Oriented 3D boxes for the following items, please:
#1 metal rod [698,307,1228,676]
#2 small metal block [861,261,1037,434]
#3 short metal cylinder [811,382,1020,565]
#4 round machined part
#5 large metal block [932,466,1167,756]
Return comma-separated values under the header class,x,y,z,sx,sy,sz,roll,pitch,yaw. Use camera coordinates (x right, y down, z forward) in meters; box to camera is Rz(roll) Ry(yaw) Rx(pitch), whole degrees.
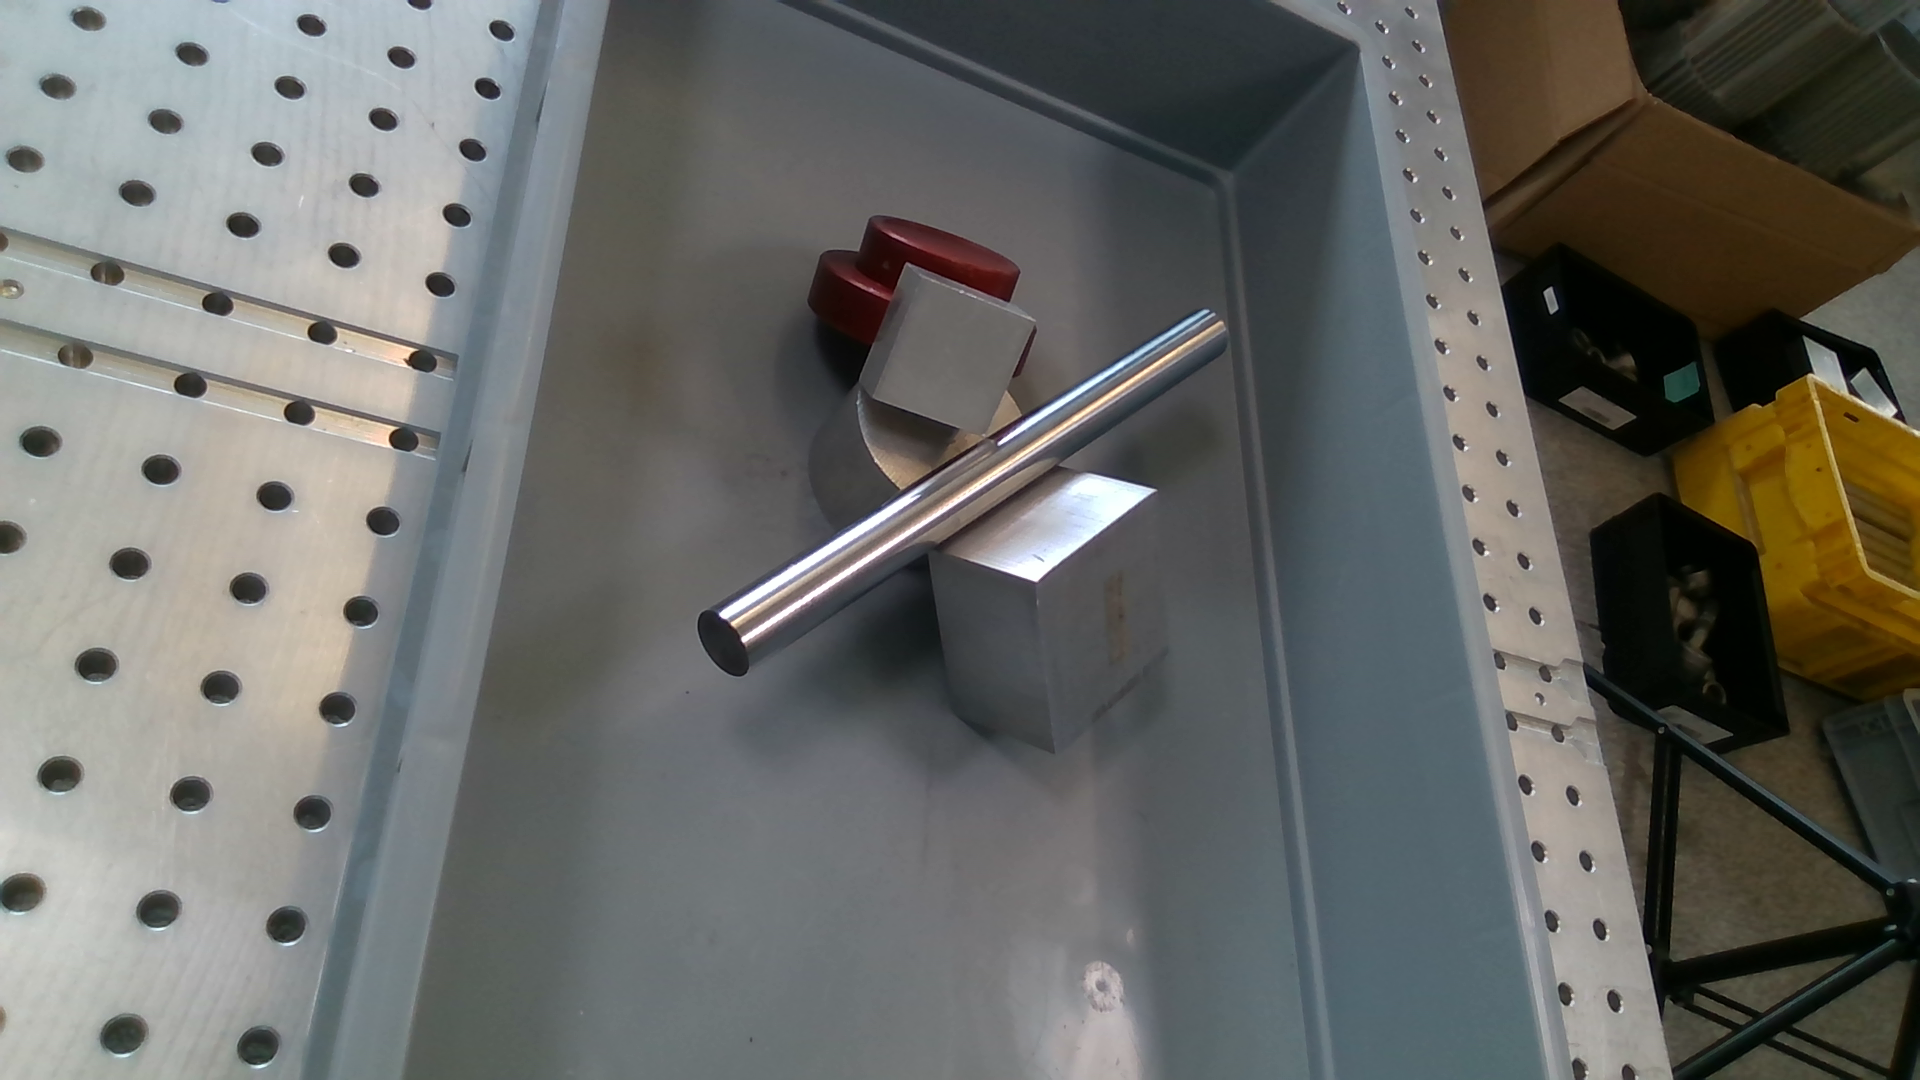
class,x,y,z,sx,sy,sz,roll,pitch,yaw
metal rod,0.018,-0.031,0.548,0.299,0.025,0.025,-34,86,-39
small metal block,-0.005,-0.075,0.538,0.050,0.050,0.025,17,17,-23
short metal cylinder,-0.017,-0.036,0.577,0.080,0.050,0.080,14,59,-25
round machined part,-0.013,-0.108,0.591,0.098,0.042,0.098,18,20,-7
large metal block,0.038,0.025,0.551,0.080,0.050,0.080,-35,129,-39
